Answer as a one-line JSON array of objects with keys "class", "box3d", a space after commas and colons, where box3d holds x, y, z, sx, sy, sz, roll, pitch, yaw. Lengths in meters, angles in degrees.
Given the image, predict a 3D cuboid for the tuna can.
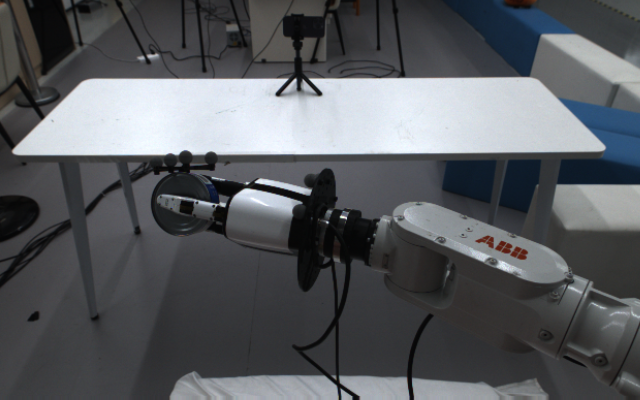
[{"class": "tuna can", "box3d": [-0.176, 0.007, 0.653, 0.085, 0.085, 0.034, 10, 2, 11]}]
